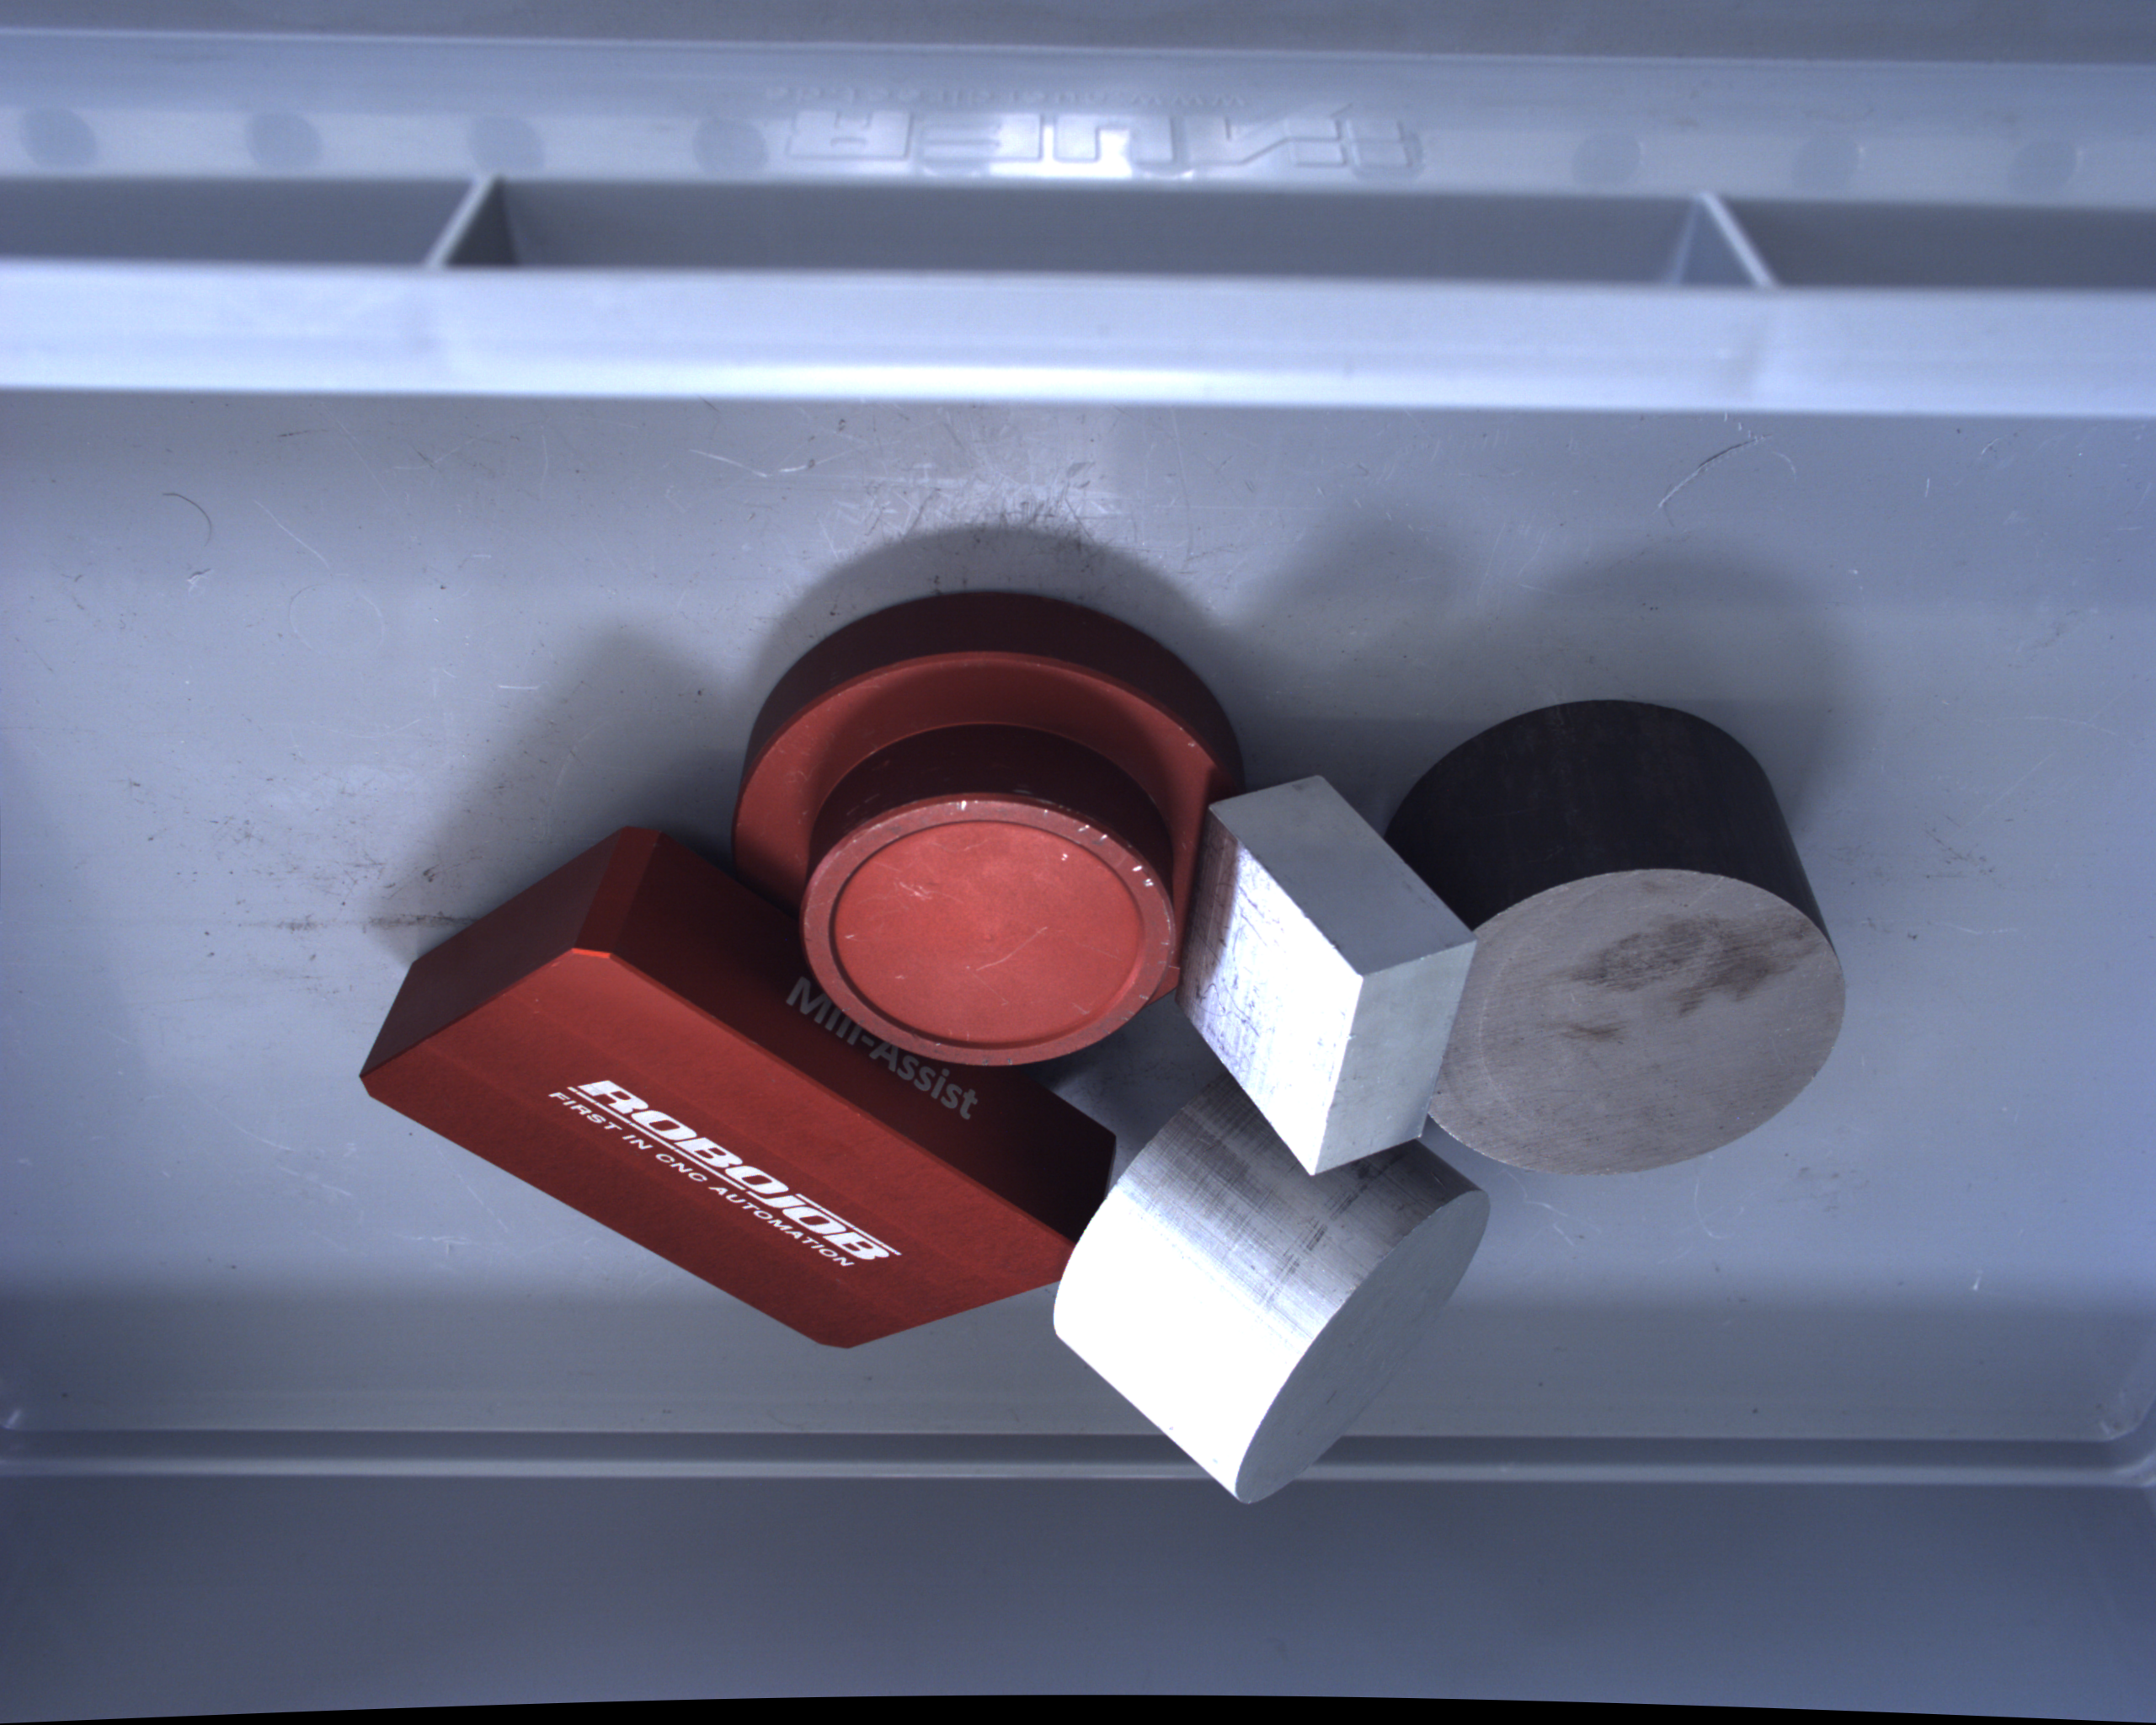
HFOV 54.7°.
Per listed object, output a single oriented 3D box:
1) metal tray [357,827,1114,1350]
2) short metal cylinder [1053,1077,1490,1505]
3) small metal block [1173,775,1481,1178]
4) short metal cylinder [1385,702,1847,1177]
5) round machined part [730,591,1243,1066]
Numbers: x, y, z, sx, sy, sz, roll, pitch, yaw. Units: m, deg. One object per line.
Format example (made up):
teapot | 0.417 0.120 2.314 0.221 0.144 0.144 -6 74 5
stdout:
metal tray | -0.069 0.053 0.433 0.130 0.030 0.090 37 136 -28
short metal cylinder | 0.041 0.086 0.436 0.050 0.081 0.079 37 135 26
small metal block | 0.044 0.020 0.384 0.025 0.050 0.050 -15 134 -25
short metal cylinder | 0.101 0.016 0.405 0.081 0.050 0.079 0 130 0
round machined part | -0.016 0.001 0.395 0.099 0.042 0.097 0 130 0
